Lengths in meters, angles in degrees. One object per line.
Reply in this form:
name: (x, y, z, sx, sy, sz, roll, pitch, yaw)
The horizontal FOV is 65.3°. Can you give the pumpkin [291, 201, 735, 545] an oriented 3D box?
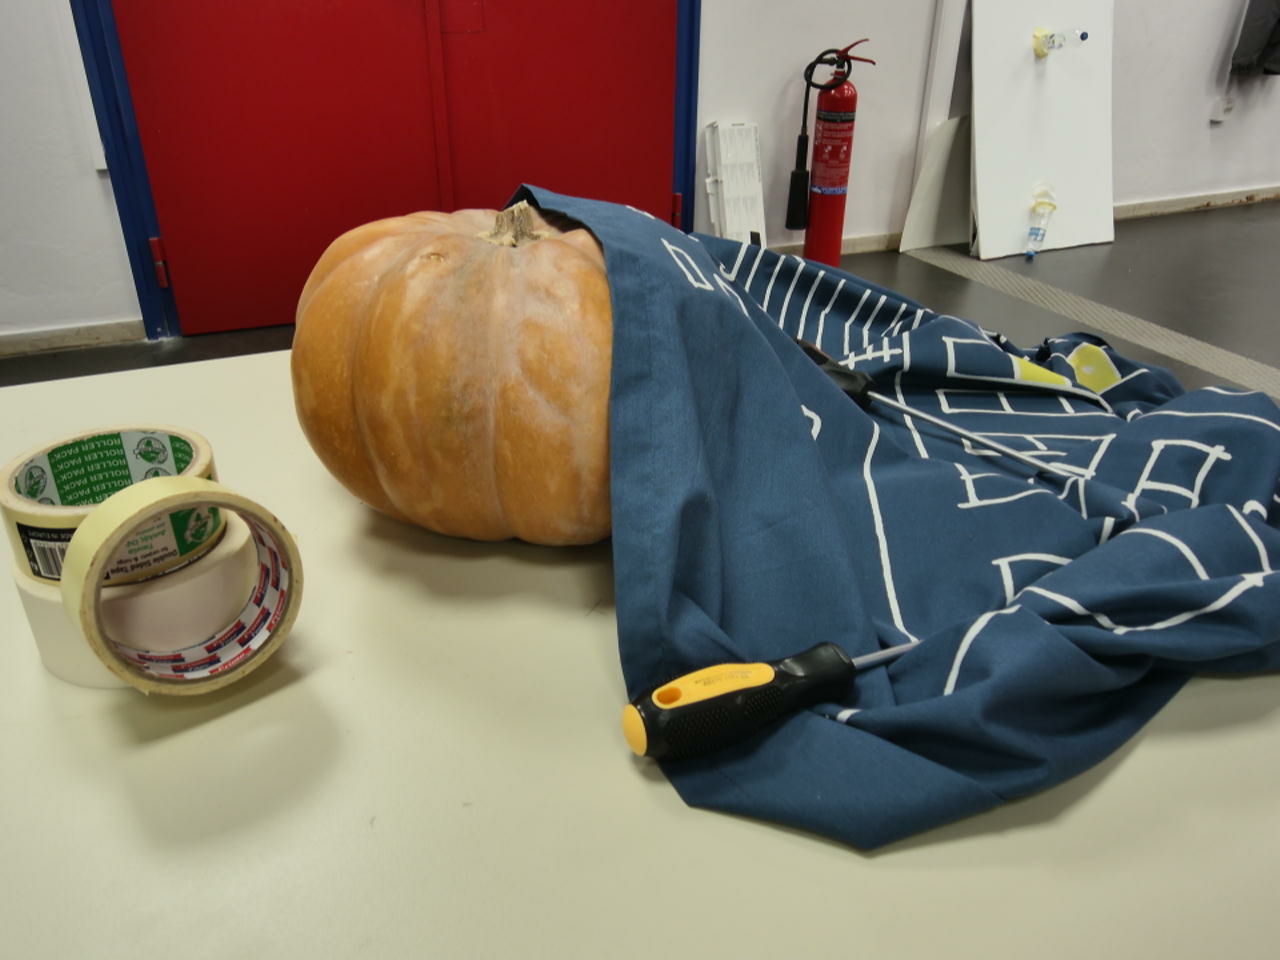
pumpkin: (-0.069, -0.069, 0.587, 0.277, 0.181, 0.277, 0, 26, 0)
